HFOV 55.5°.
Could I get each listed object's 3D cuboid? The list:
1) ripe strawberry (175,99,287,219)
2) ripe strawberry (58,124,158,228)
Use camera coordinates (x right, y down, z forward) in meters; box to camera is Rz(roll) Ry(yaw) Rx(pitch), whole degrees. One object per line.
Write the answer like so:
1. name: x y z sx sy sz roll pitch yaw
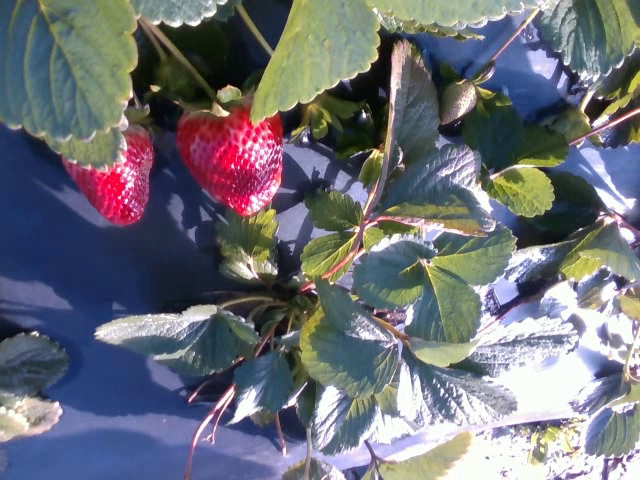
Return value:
1. ripe strawberry: -0.035 -0.036 0.270 0.052 0.058 0.046 -9 20 16
2. ripe strawberry: -0.089 -0.027 0.259 0.043 0.052 0.037 -12 22 25
